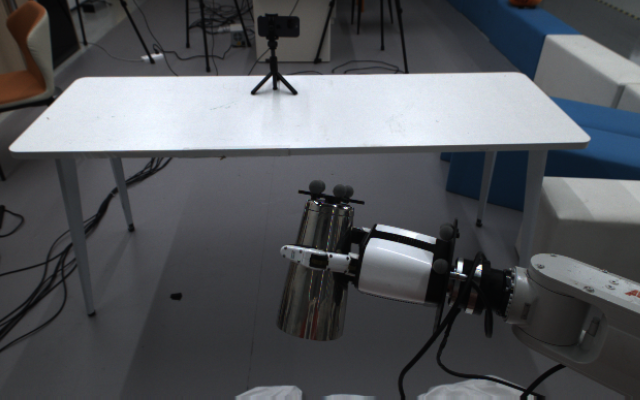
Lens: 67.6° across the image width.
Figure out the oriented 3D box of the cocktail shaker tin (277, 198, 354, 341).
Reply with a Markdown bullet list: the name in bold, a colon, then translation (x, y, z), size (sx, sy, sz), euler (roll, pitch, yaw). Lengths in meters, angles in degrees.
- **cocktail shaker tin**: translation (0.001, 0.088, 0.646), size (0.093, 0.170, 0.093), euler (10, 3, -1)
